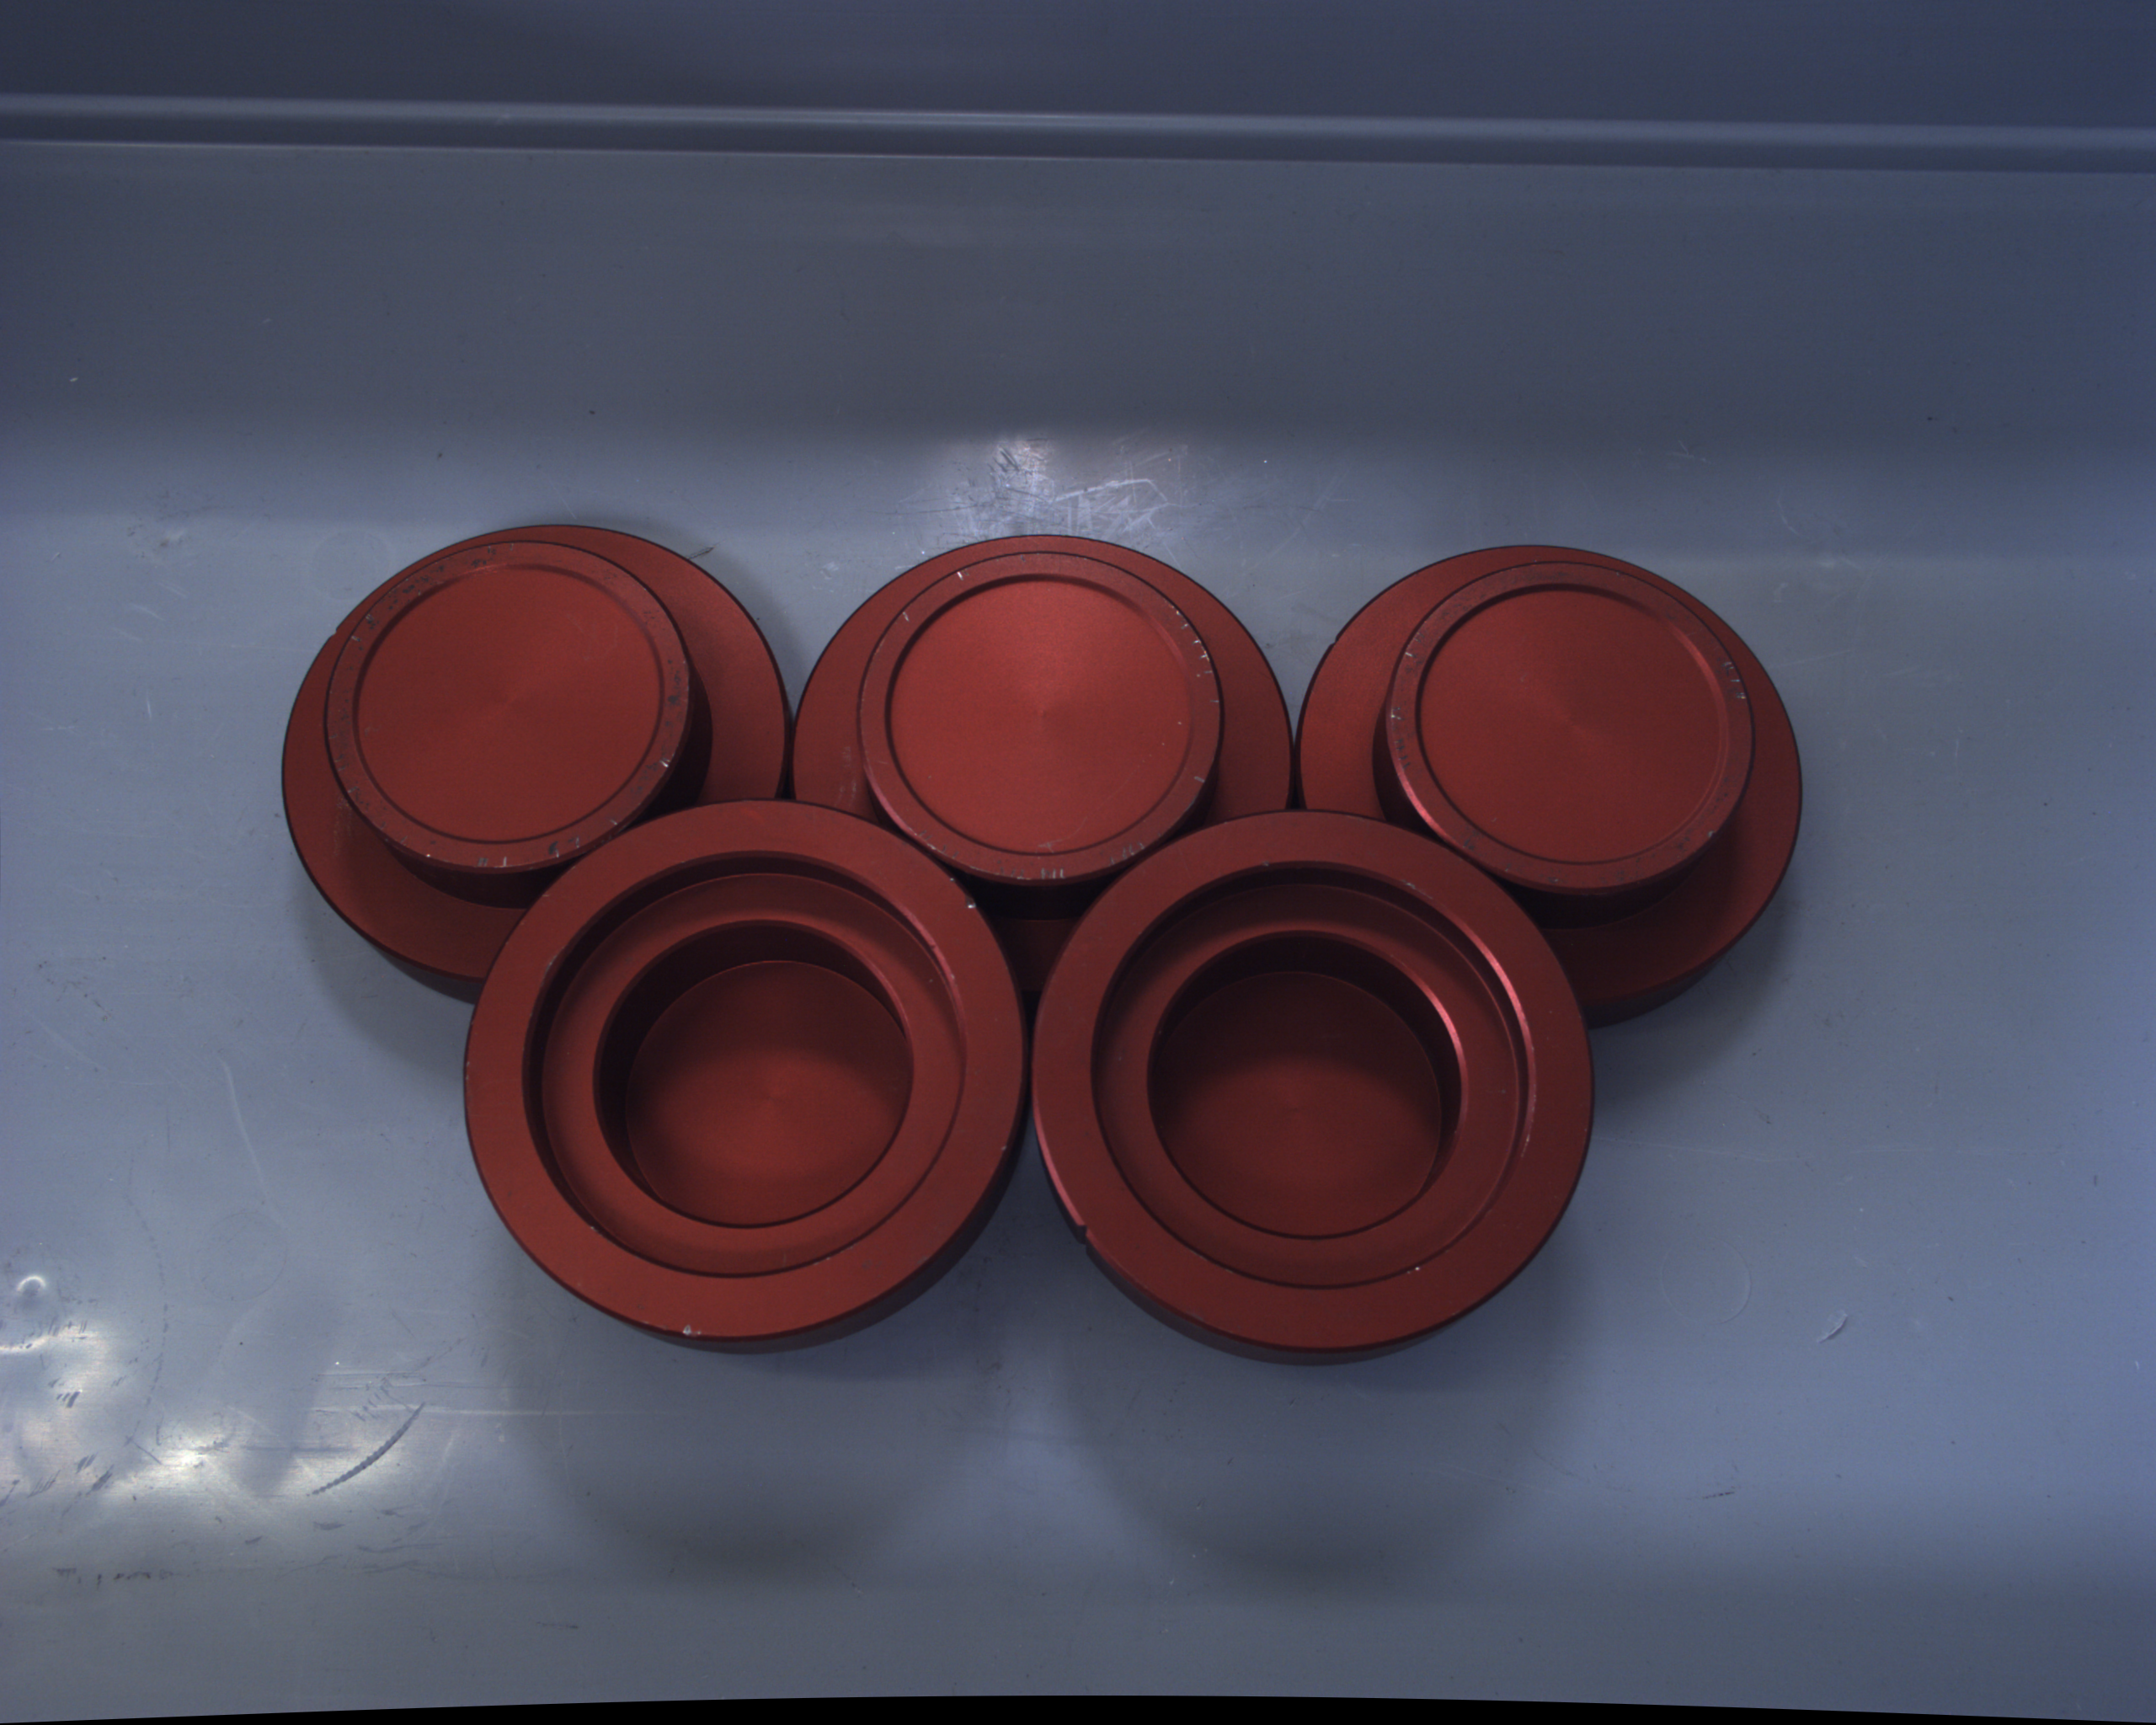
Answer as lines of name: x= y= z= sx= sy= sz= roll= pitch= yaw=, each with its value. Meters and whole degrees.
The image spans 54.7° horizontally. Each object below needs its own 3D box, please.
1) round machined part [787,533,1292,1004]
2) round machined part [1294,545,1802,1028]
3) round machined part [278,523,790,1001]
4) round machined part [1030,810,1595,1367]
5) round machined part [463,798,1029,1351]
round machined part: x=-0.008 y=-0.022 z=0.406 sx=0.099 sy=0.042 sz=0.098 roll=0 pitch=69 yaw=0
round machined part: x=0.091 y=-0.019 z=0.405 sx=0.099 sy=0.042 sz=0.098 roll=0 pitch=69 yaw=0
round machined part: x=-0.106 y=-0.024 z=0.406 sx=0.099 sy=0.042 sz=0.098 roll=0 pitch=69 yaw=-1
round machined part: x=0.041 y=0.043 z=0.383 sx=0.099 sy=0.042 sz=0.098 roll=0 pitch=70 yaw=0
round machined part: x=-0.058 y=0.041 z=0.383 sx=0.099 sy=0.042 sz=0.098 roll=0 pitch=70 yaw=0
